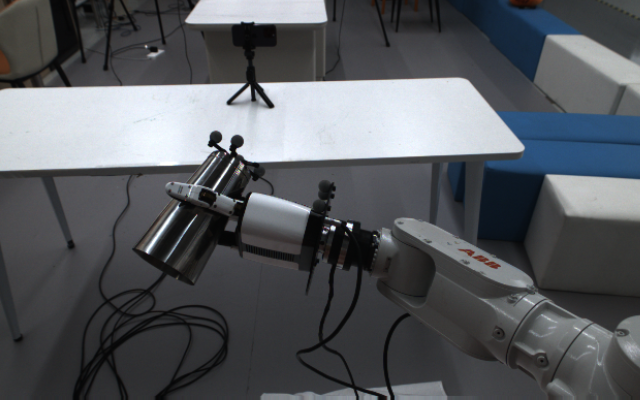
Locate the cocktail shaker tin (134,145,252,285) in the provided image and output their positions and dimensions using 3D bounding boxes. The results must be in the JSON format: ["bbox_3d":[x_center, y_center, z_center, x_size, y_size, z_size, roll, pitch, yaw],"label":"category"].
[{"bbox_3d":[-0.163,0.017,0.656,0.093,0.093,0.170,18,66,22],"label":"cocktail shaker tin"}]
